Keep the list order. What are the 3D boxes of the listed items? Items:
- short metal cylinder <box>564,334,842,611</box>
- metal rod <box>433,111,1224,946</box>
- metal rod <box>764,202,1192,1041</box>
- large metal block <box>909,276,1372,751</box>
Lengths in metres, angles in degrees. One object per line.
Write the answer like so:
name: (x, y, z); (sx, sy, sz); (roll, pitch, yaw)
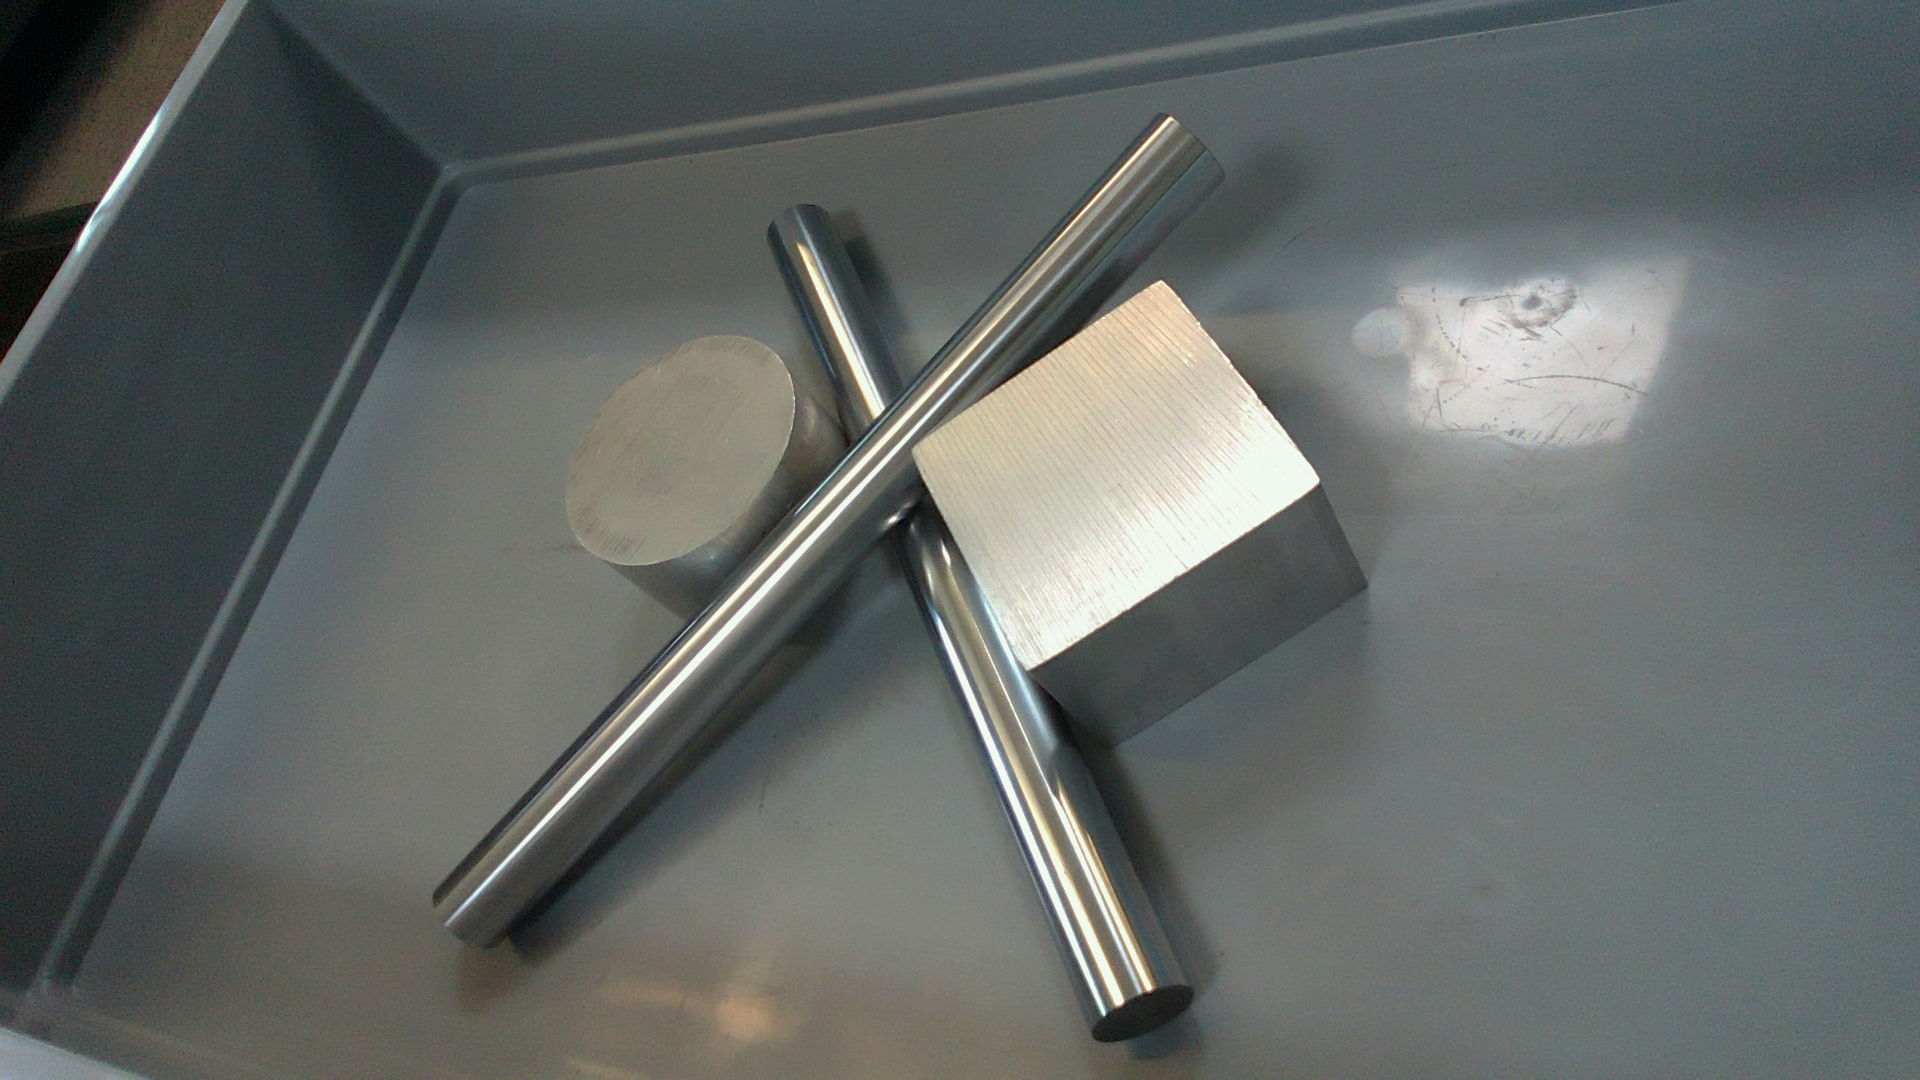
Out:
short metal cylinder: (-0.074, -0.016, 0.426); (0.080, 0.050, 0.080); (-13, 56, 21)
metal rod: (-0.041, 0.002, 0.386); (0.300, 0.025, 0.025); (-46, 50, 7)
metal rod: (-0.009, -0.002, 0.397); (0.025, 0.025, 0.300); (-31, 51, 8)
large metal block: (0.045, -0.007, 0.355); (0.080, 0.050, 0.080); (-33, 51, 7)
